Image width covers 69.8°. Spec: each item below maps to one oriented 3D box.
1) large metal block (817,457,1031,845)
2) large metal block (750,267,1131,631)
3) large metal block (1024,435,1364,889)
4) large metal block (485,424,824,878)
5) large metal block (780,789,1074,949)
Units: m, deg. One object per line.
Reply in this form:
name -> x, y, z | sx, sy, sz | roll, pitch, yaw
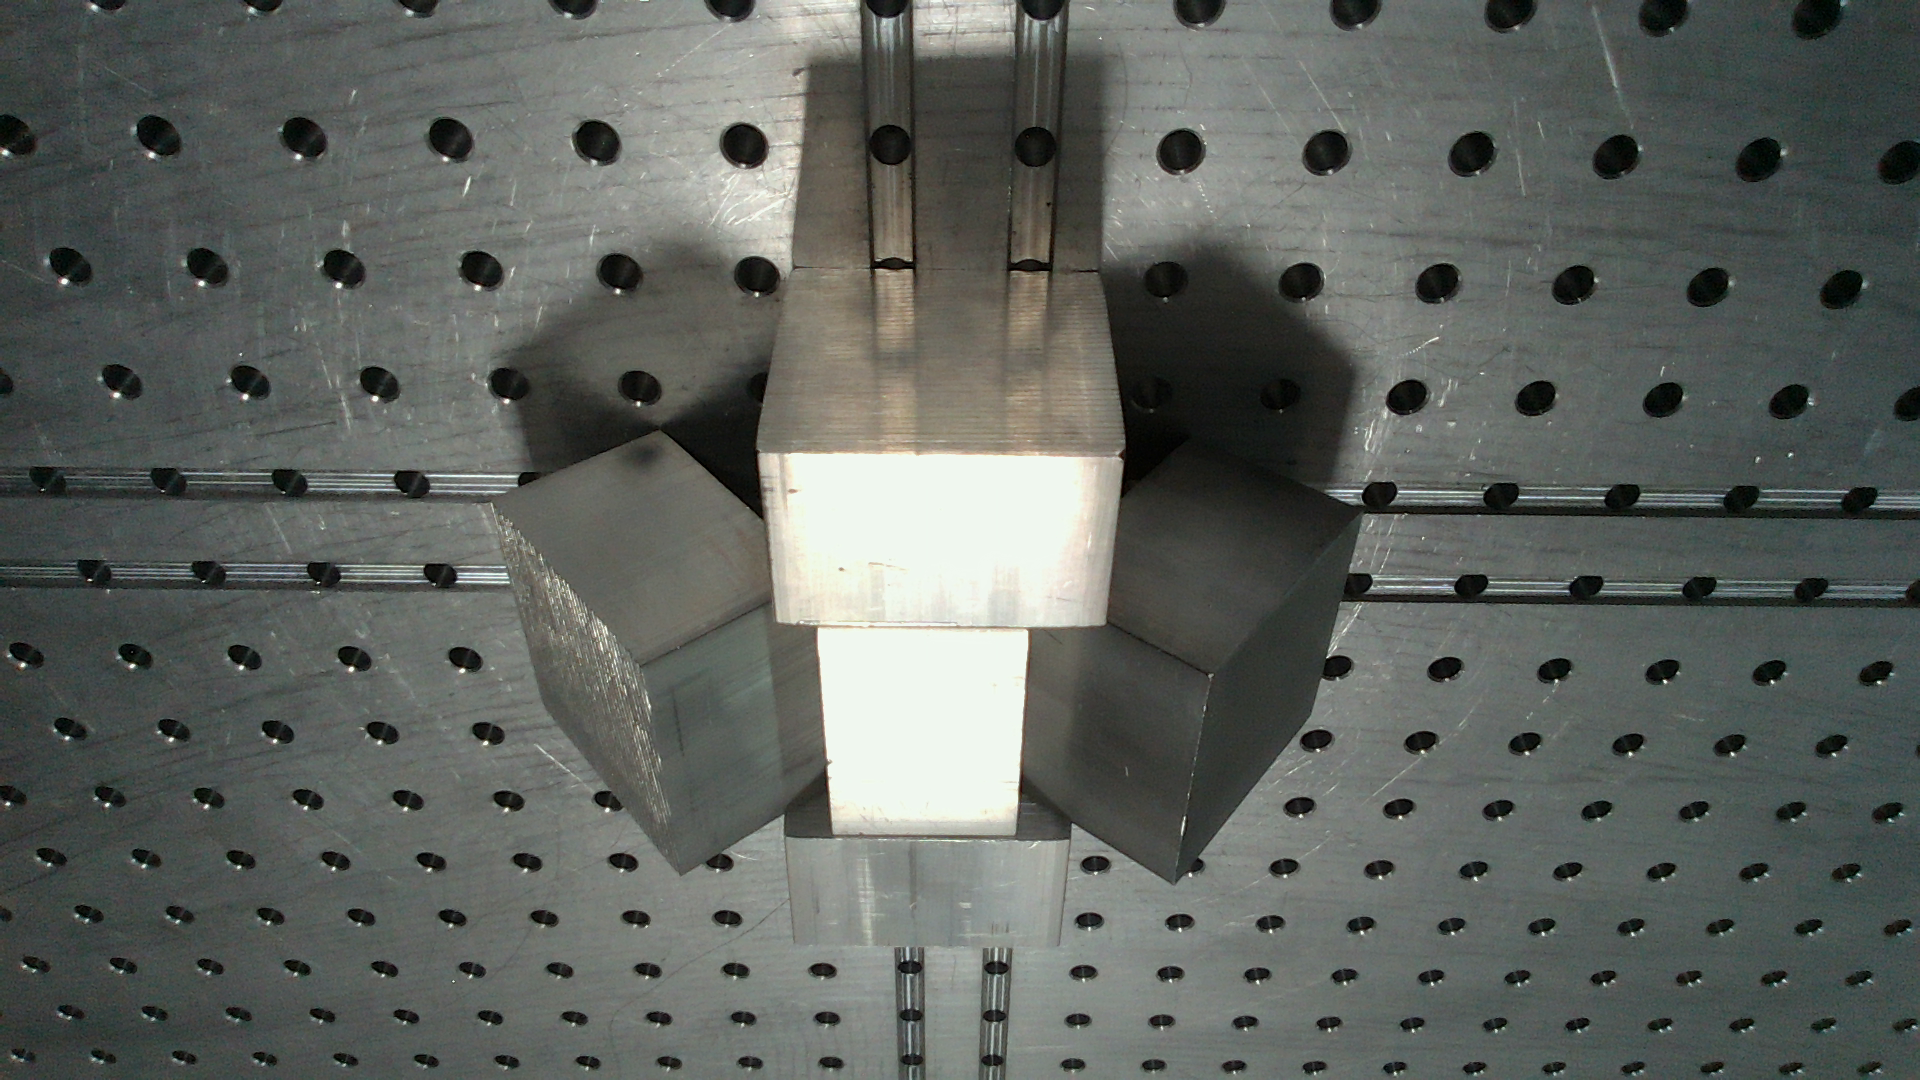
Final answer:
large metal block -> -0.009, 0.026, 0.378 | 0.050, 0.080, 0.080 | 1, 130, 0
large metal block -> -0.004, -0.024, 0.336 | 0.080, 0.080, 0.050 | 1, 130, -1
large metal block -> 0.061, 0.031, 0.373 | 0.050, 0.080, 0.080 | 27, 136, 27
large metal block -> -0.079, 0.029, 0.373 | 0.050, 0.080, 0.080 | -28, 138, -29
large metal block -> -0.009, 0.075, 0.420 | 0.080, 0.080, 0.050 | 1, 130, -1
